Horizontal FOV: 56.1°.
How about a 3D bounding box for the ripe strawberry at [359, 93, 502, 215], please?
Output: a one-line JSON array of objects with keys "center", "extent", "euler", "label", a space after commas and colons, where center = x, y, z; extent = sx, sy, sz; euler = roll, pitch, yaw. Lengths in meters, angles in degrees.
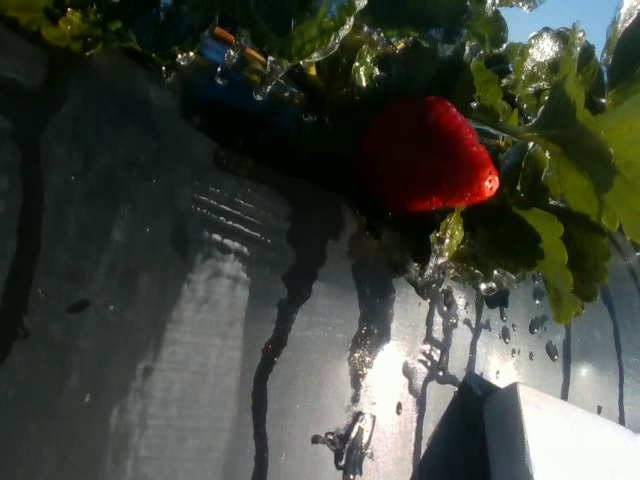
[{"center": [0.036, -0.023, 0.179], "extent": [0.041, 0.047, 0.052], "euler": [20, 10, -25], "label": "ripe strawberry"}]
